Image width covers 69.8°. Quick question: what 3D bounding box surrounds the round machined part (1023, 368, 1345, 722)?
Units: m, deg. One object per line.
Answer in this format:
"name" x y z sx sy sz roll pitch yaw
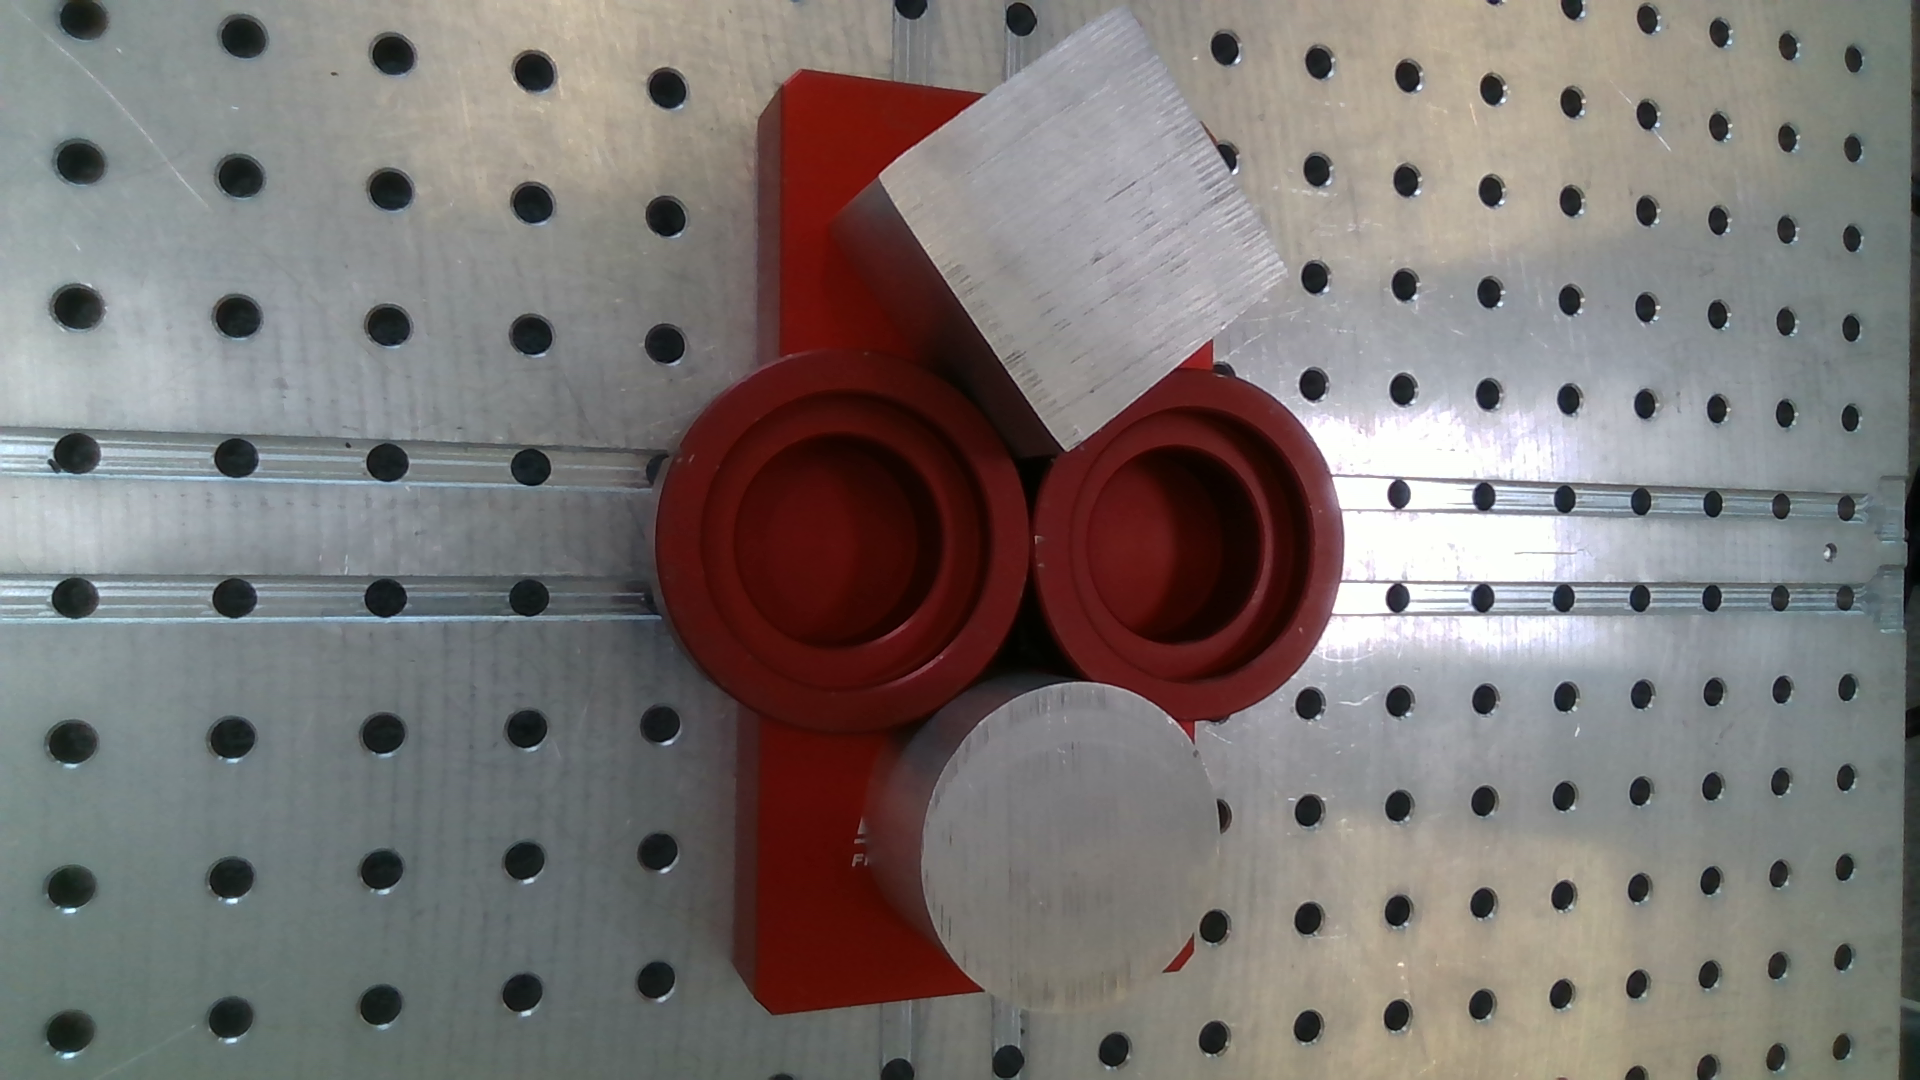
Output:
"round machined part" 0.059 0.001 0.399 0.098 0.042 0.098 0 90 -20

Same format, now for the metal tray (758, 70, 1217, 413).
"metal tray" 0.009 -0.078 0.397 0.130 0.030 0.090 0 91 -20

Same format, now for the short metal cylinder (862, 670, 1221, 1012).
"short metal cylinder" 0.020 0.075 0.358 0.080 0.050 0.080 0 90 -20

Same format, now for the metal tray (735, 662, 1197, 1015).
"metal tray" 0.003 0.080 0.393 0.130 0.030 0.090 1 90 -20

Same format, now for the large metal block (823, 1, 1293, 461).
"large metal block" 0.025 -0.077 0.360 0.080 0.050 0.080 -39 102 -16

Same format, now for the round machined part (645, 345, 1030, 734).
"round machined part" -0.034 0.000 0.365 0.098 0.042 0.098 0 90 -20
